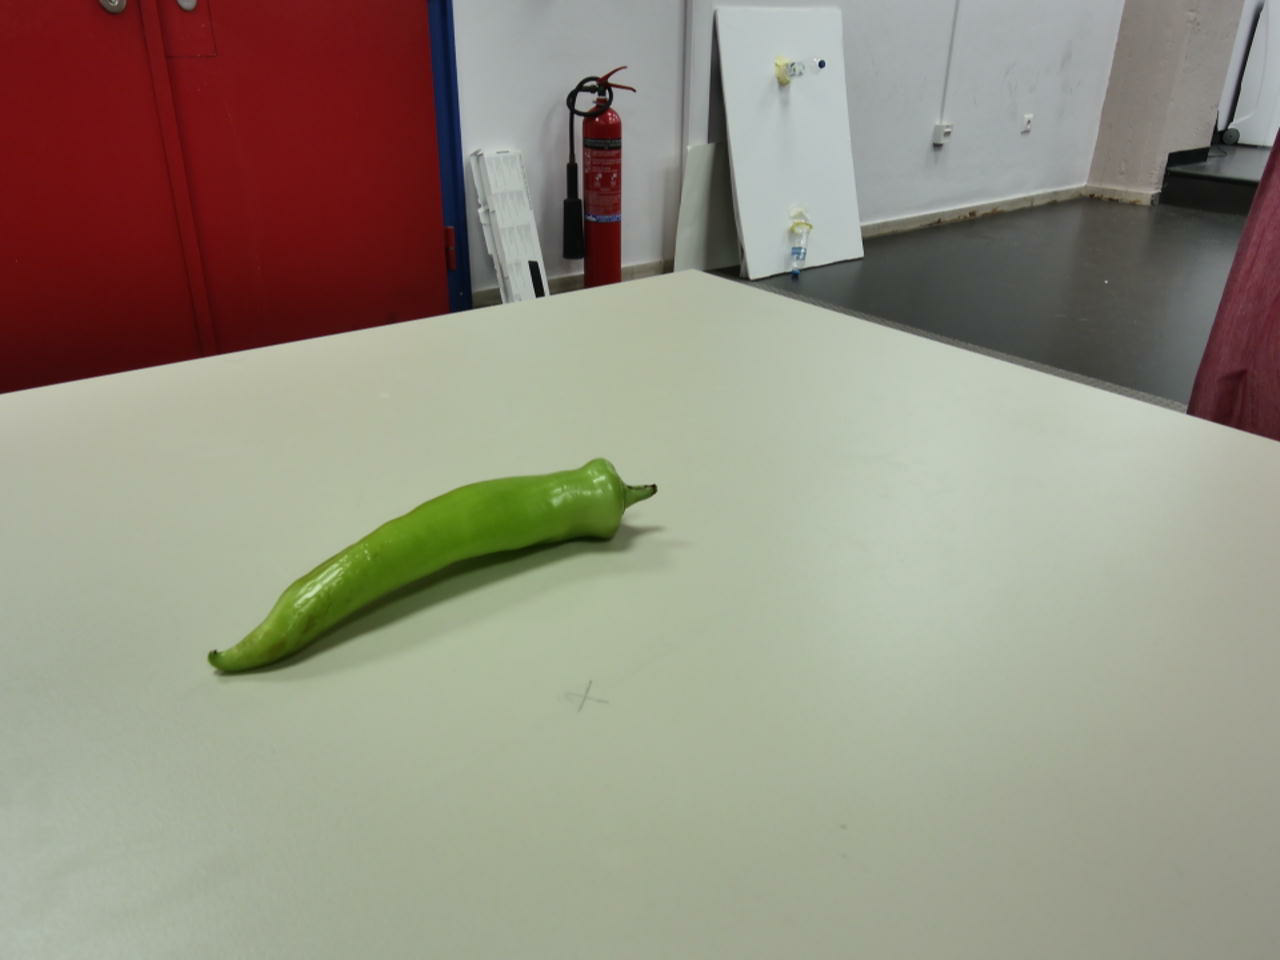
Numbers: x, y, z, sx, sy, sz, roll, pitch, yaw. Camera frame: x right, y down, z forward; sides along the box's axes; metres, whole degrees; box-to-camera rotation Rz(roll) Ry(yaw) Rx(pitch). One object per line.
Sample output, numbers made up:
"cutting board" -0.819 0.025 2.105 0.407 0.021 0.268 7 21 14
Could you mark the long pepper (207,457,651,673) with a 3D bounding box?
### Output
"long pepper" -0.080 0.025 0.409 0.197 0.038 0.047 -16 29 -34
